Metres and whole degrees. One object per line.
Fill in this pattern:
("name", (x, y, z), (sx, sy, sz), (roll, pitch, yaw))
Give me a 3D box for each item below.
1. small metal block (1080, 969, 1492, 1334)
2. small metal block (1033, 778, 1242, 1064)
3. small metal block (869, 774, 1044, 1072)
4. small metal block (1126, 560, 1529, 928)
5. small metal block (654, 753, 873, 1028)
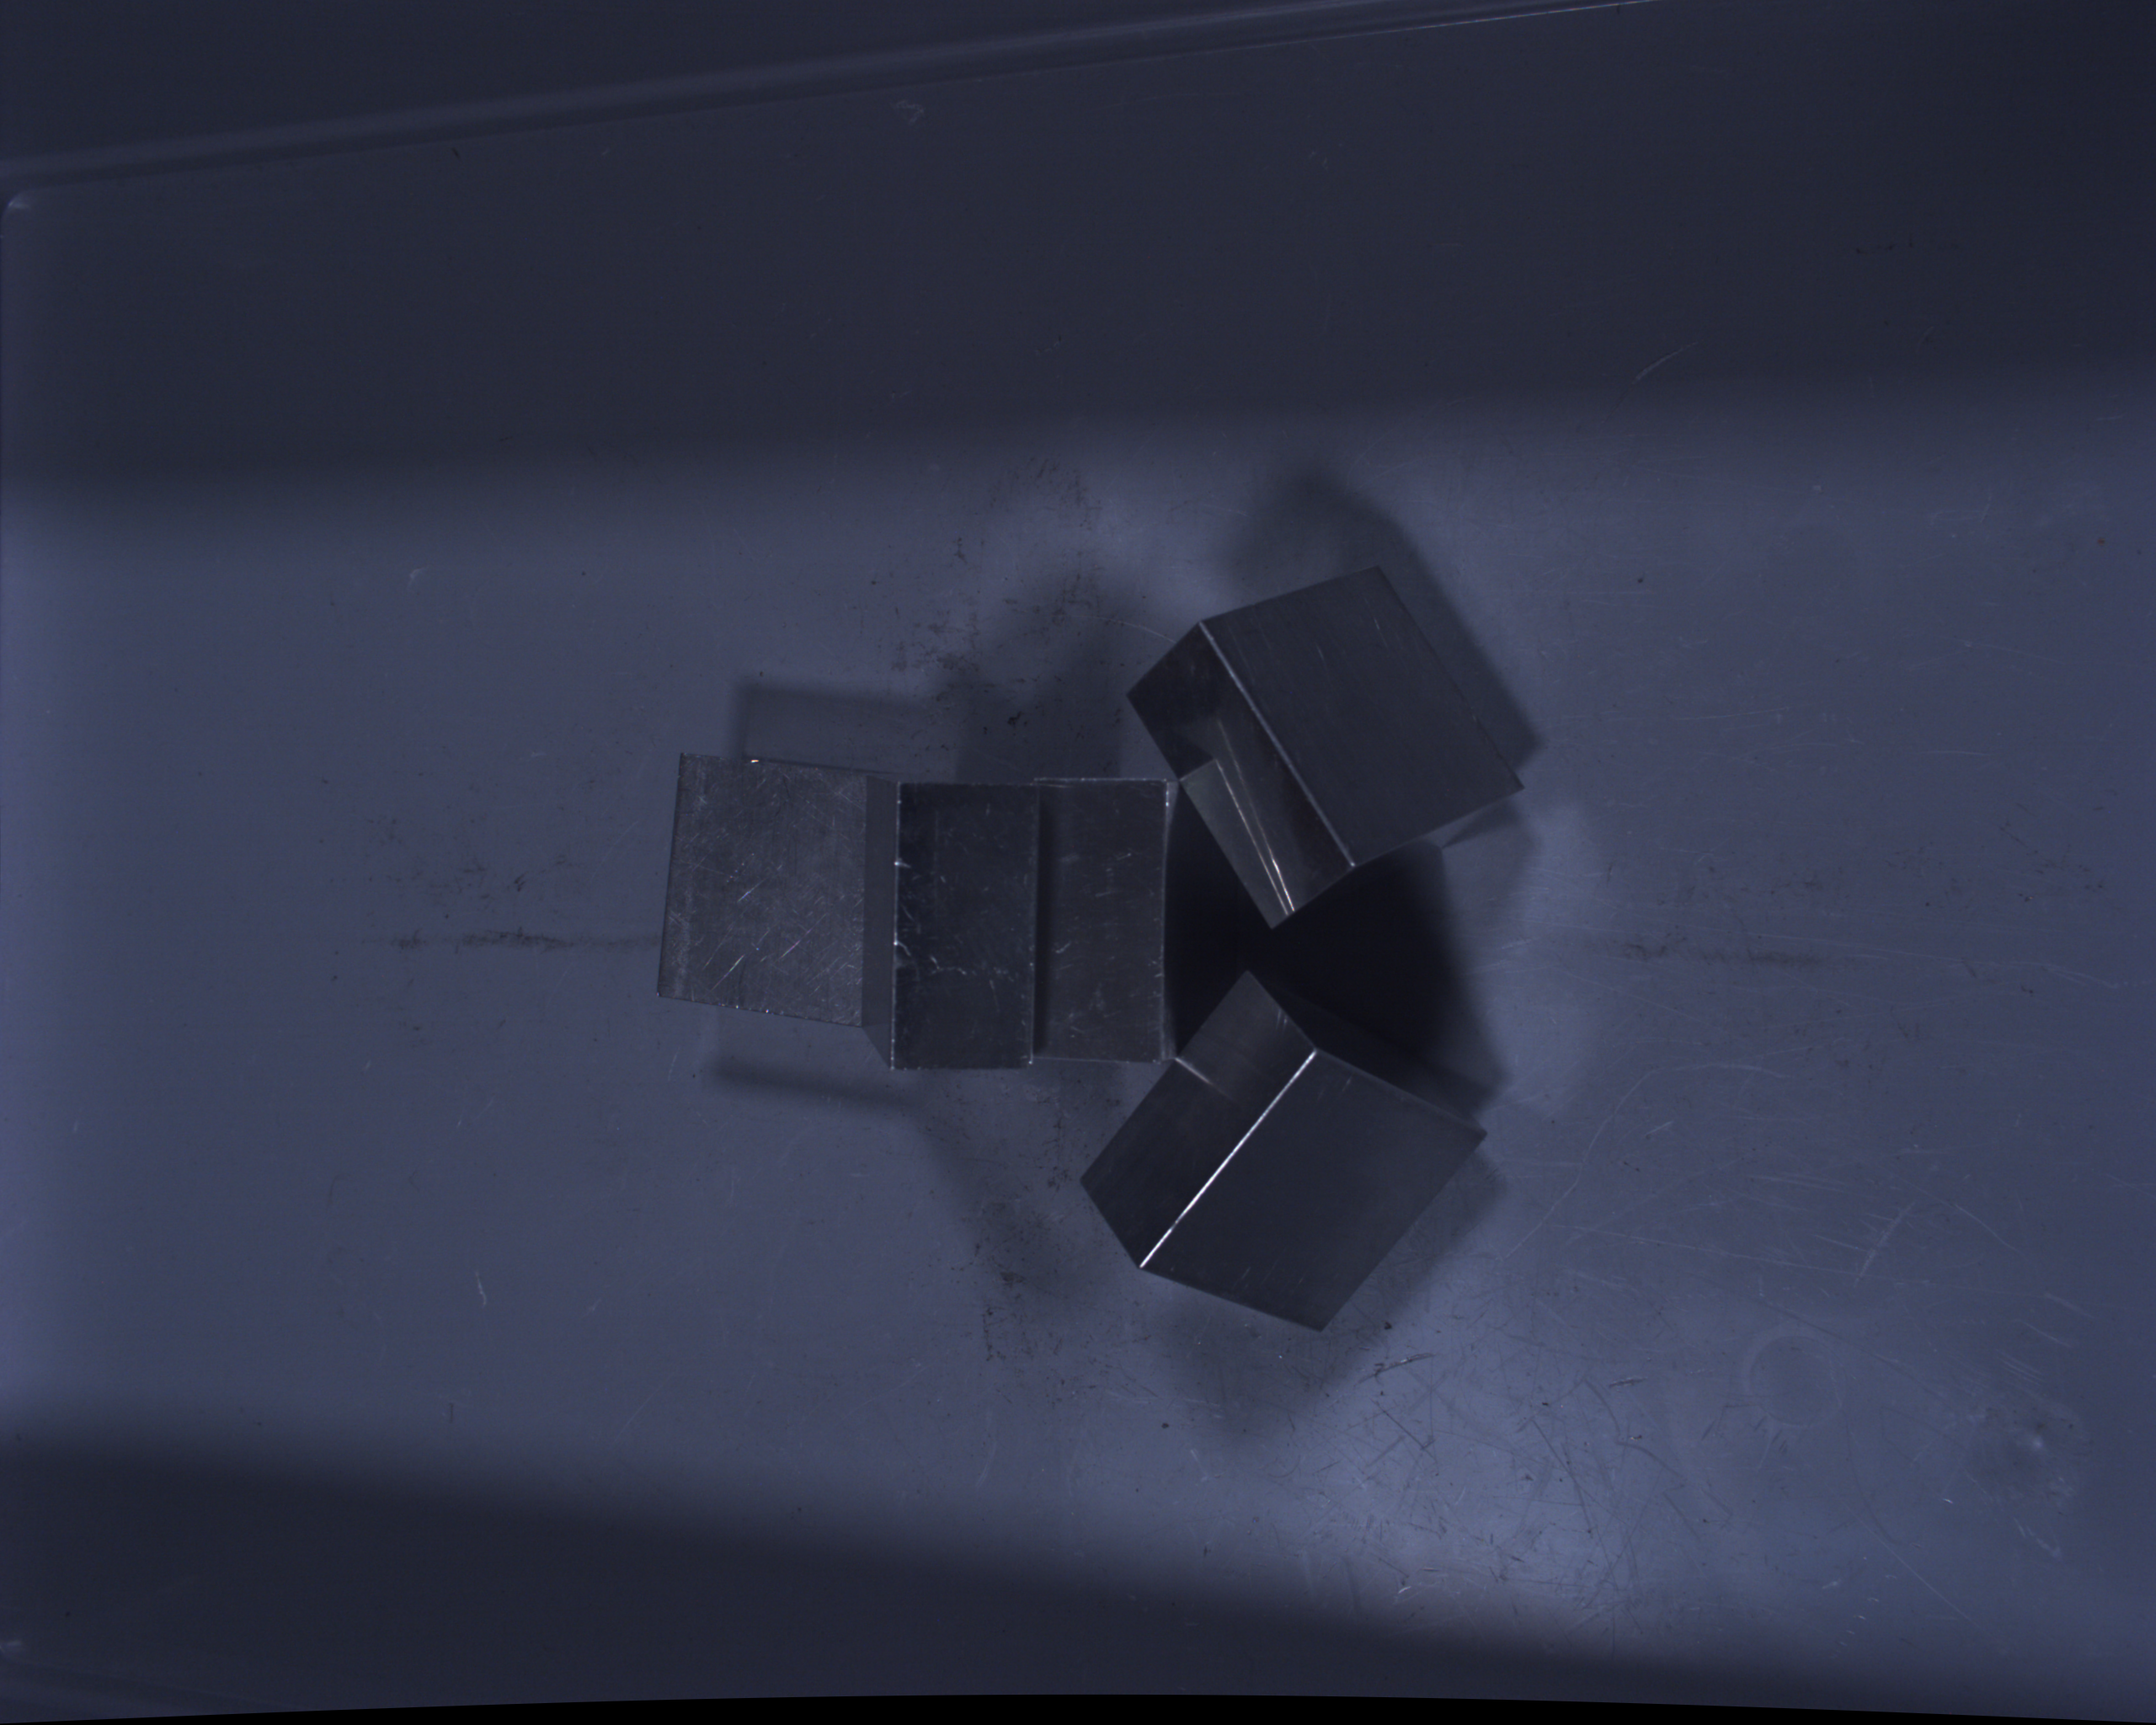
("small metal block", (0.038, 0.053, 0.379), (0.050, 0.050, 0.025), (-53, 40, 12))
("small metal block", (0.012, 0.010, 0.391), (0.025, 0.050, 0.050), (1, 91, 20))
("small metal block", (-0.024, 0.010, 0.384), (0.025, 0.050, 0.050), (1, 94, -12))
("small metal block", (0.045, -0.022, 0.376), (0.050, 0.050, 0.025), (59, 139, 10))
("small metal block", (-0.056, 0.005, 0.426), (0.050, 0.025, 0.050), (7, 92, 19))
